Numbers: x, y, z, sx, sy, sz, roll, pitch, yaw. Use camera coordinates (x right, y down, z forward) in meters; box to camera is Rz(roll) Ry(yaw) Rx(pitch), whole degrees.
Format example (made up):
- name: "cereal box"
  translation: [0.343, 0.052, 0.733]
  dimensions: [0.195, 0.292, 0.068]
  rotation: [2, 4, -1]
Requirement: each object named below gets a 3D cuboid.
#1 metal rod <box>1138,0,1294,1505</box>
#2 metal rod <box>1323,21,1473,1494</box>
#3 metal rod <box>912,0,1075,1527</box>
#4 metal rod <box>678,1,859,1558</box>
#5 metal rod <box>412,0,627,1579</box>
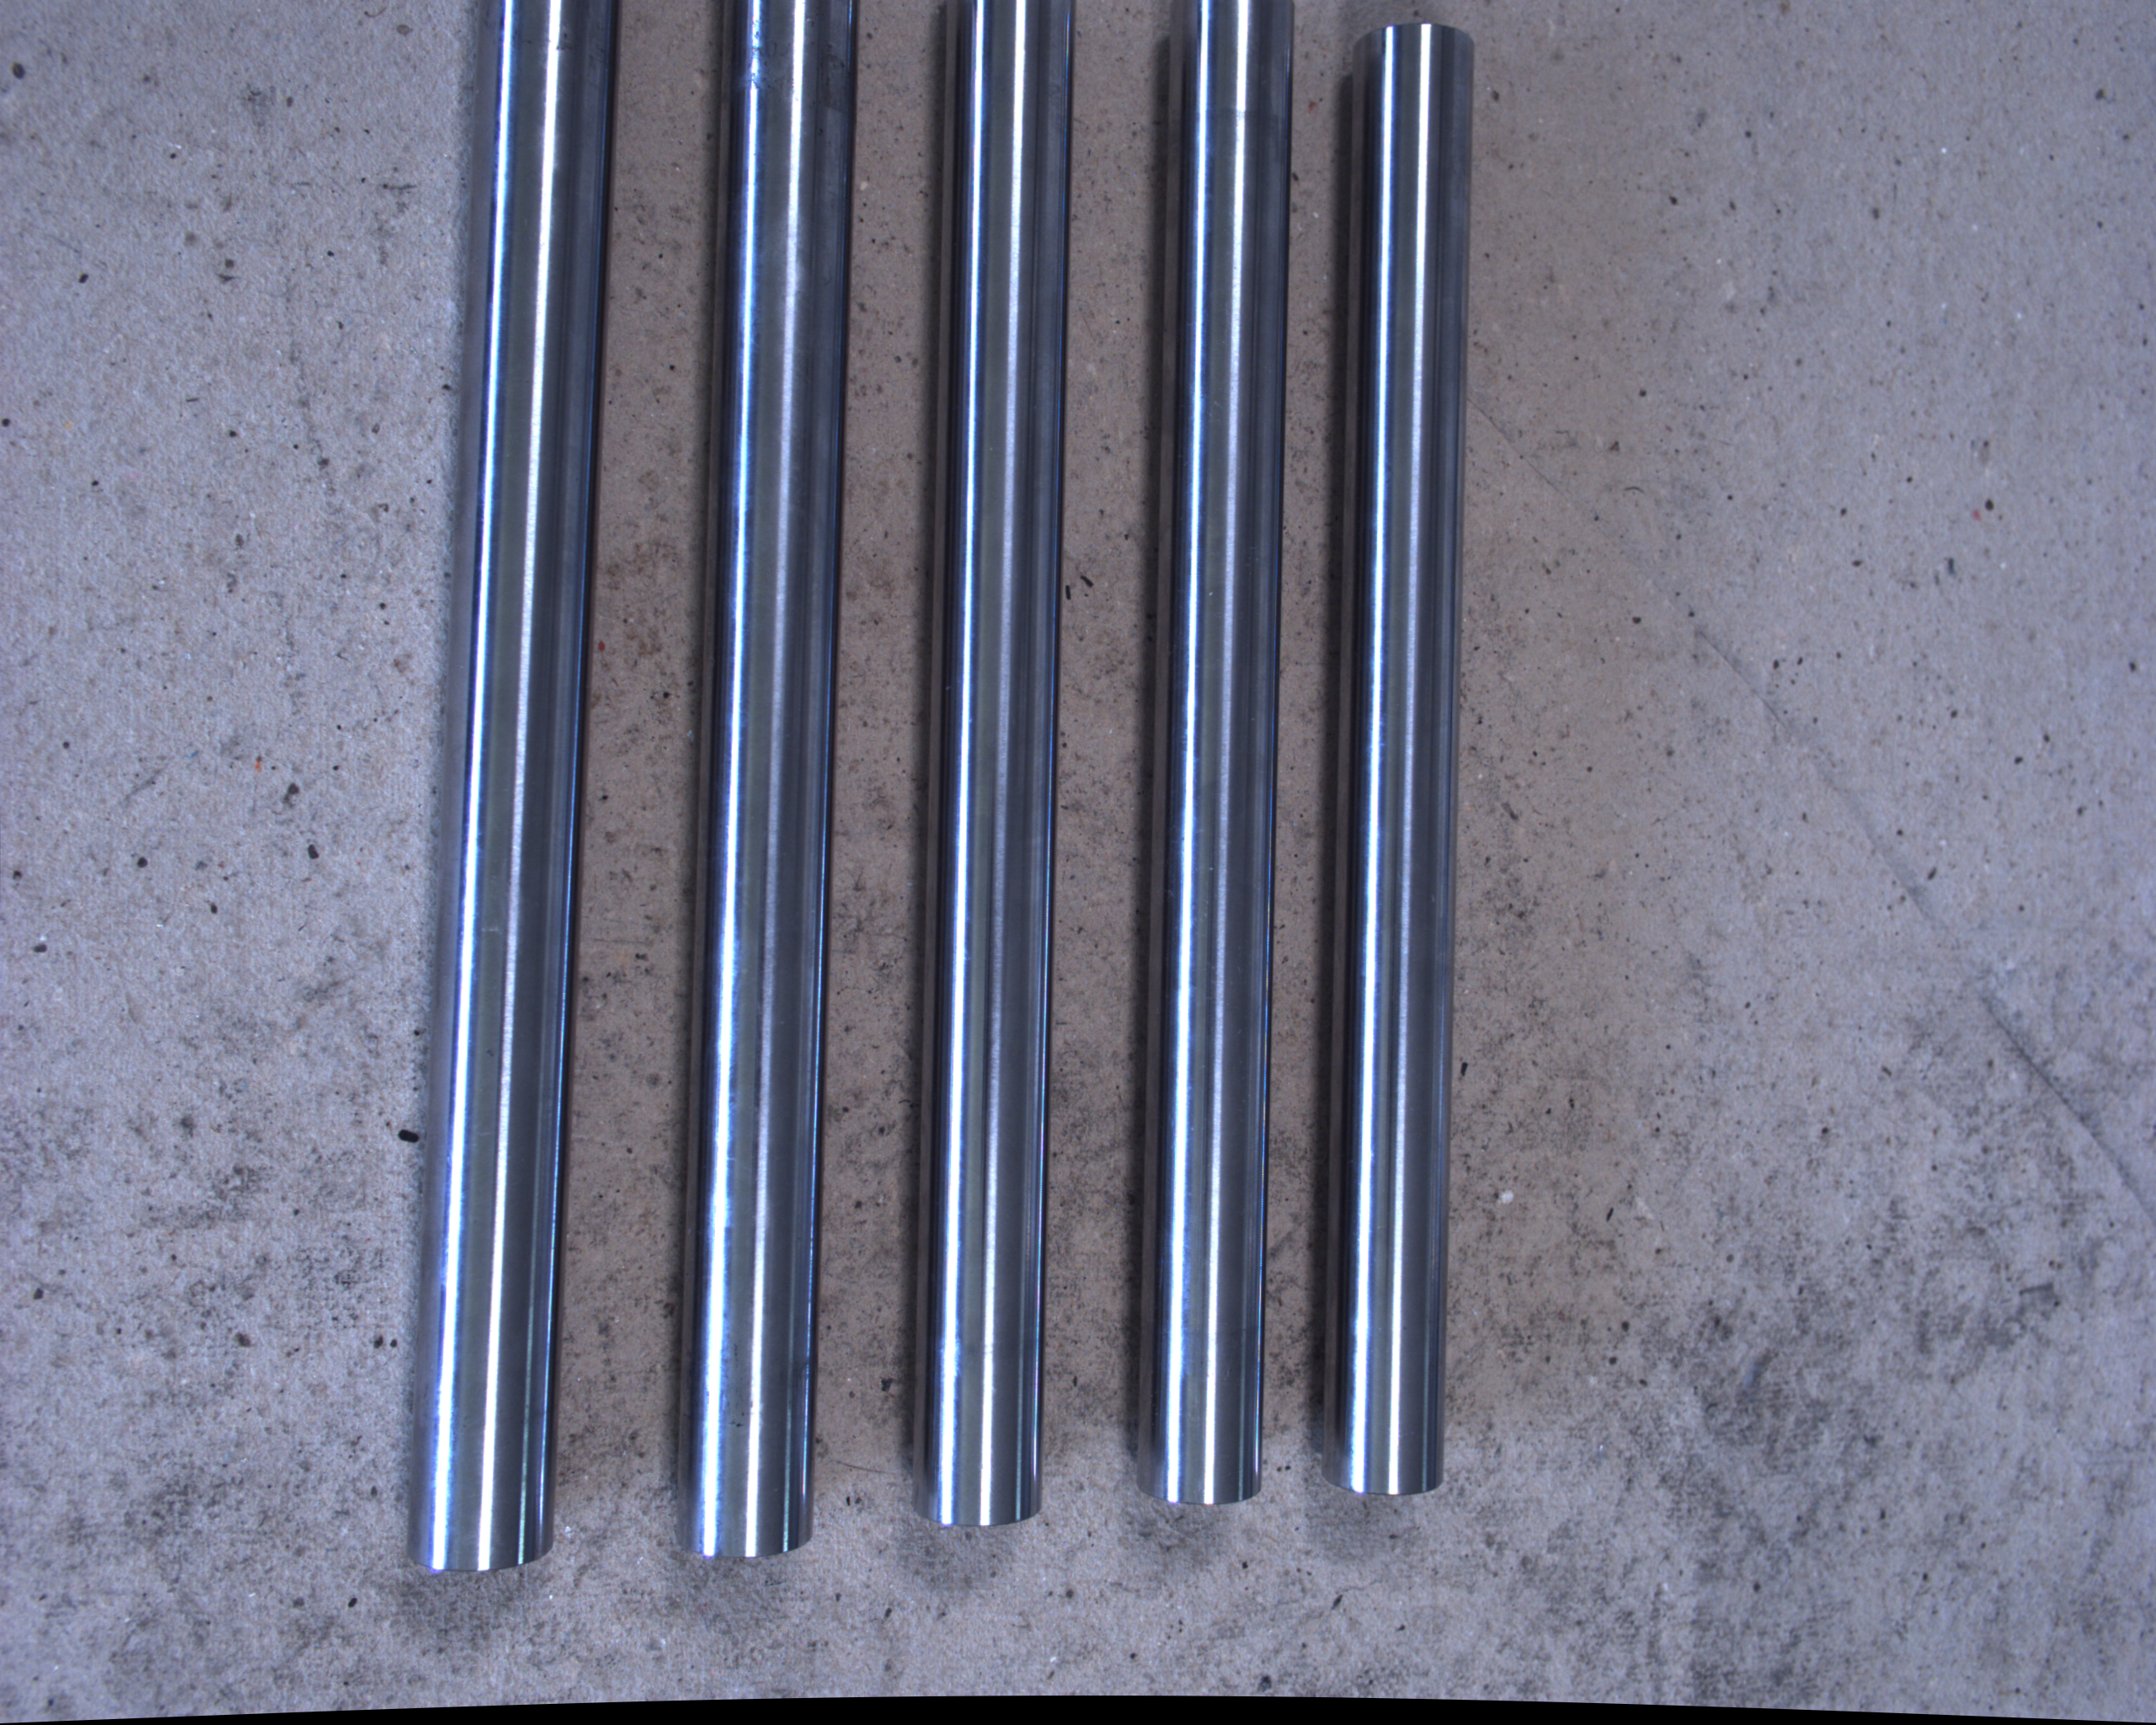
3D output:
- name: "metal rod"
  translation: [0.028, -0.024, 0.420]
  dimensions: [0.025, 0.025, 0.298]
  rotation: [1, 89, -20]
- name: "metal rod"
  translation: [0.067, -0.022, 0.434]
  dimensions: [0.025, 0.025, 0.298]
  rotation: [1, 89, -20]
- name: "metal rod"
  translation: [-0.016, -0.025, 0.404]
  dimensions: [0.025, 0.025, 0.298]
  rotation: [1, 89, -20]
- name: "metal rod"
  translation: [-0.057, -0.024, 0.389]
  dimensions: [0.025, 0.025, 0.298]
  rotation: [2, 89, -20]
- name: "metal rod"
  translation: [-0.099, -0.026, 0.372]
  dimensions: [0.025, 0.025, 0.298]
  rotation: [3, 89, -20]
